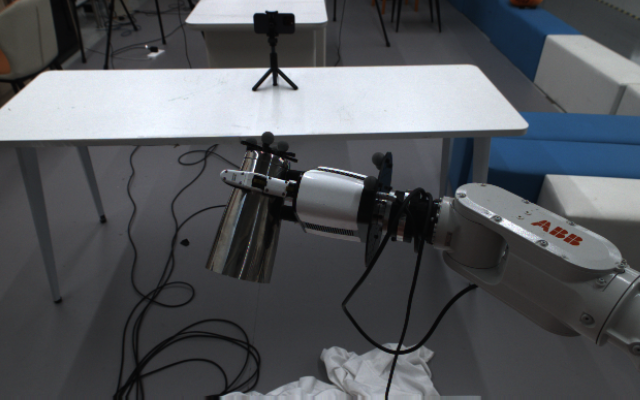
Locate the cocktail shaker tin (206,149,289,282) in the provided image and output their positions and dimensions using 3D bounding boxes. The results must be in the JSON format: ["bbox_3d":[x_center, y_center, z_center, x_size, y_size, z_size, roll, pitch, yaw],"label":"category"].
[{"bbox_3d":[-0.093,0.019,0.678,0.093,0.170,0.093,15,-5,1],"label":"cocktail shaker tin"}]
